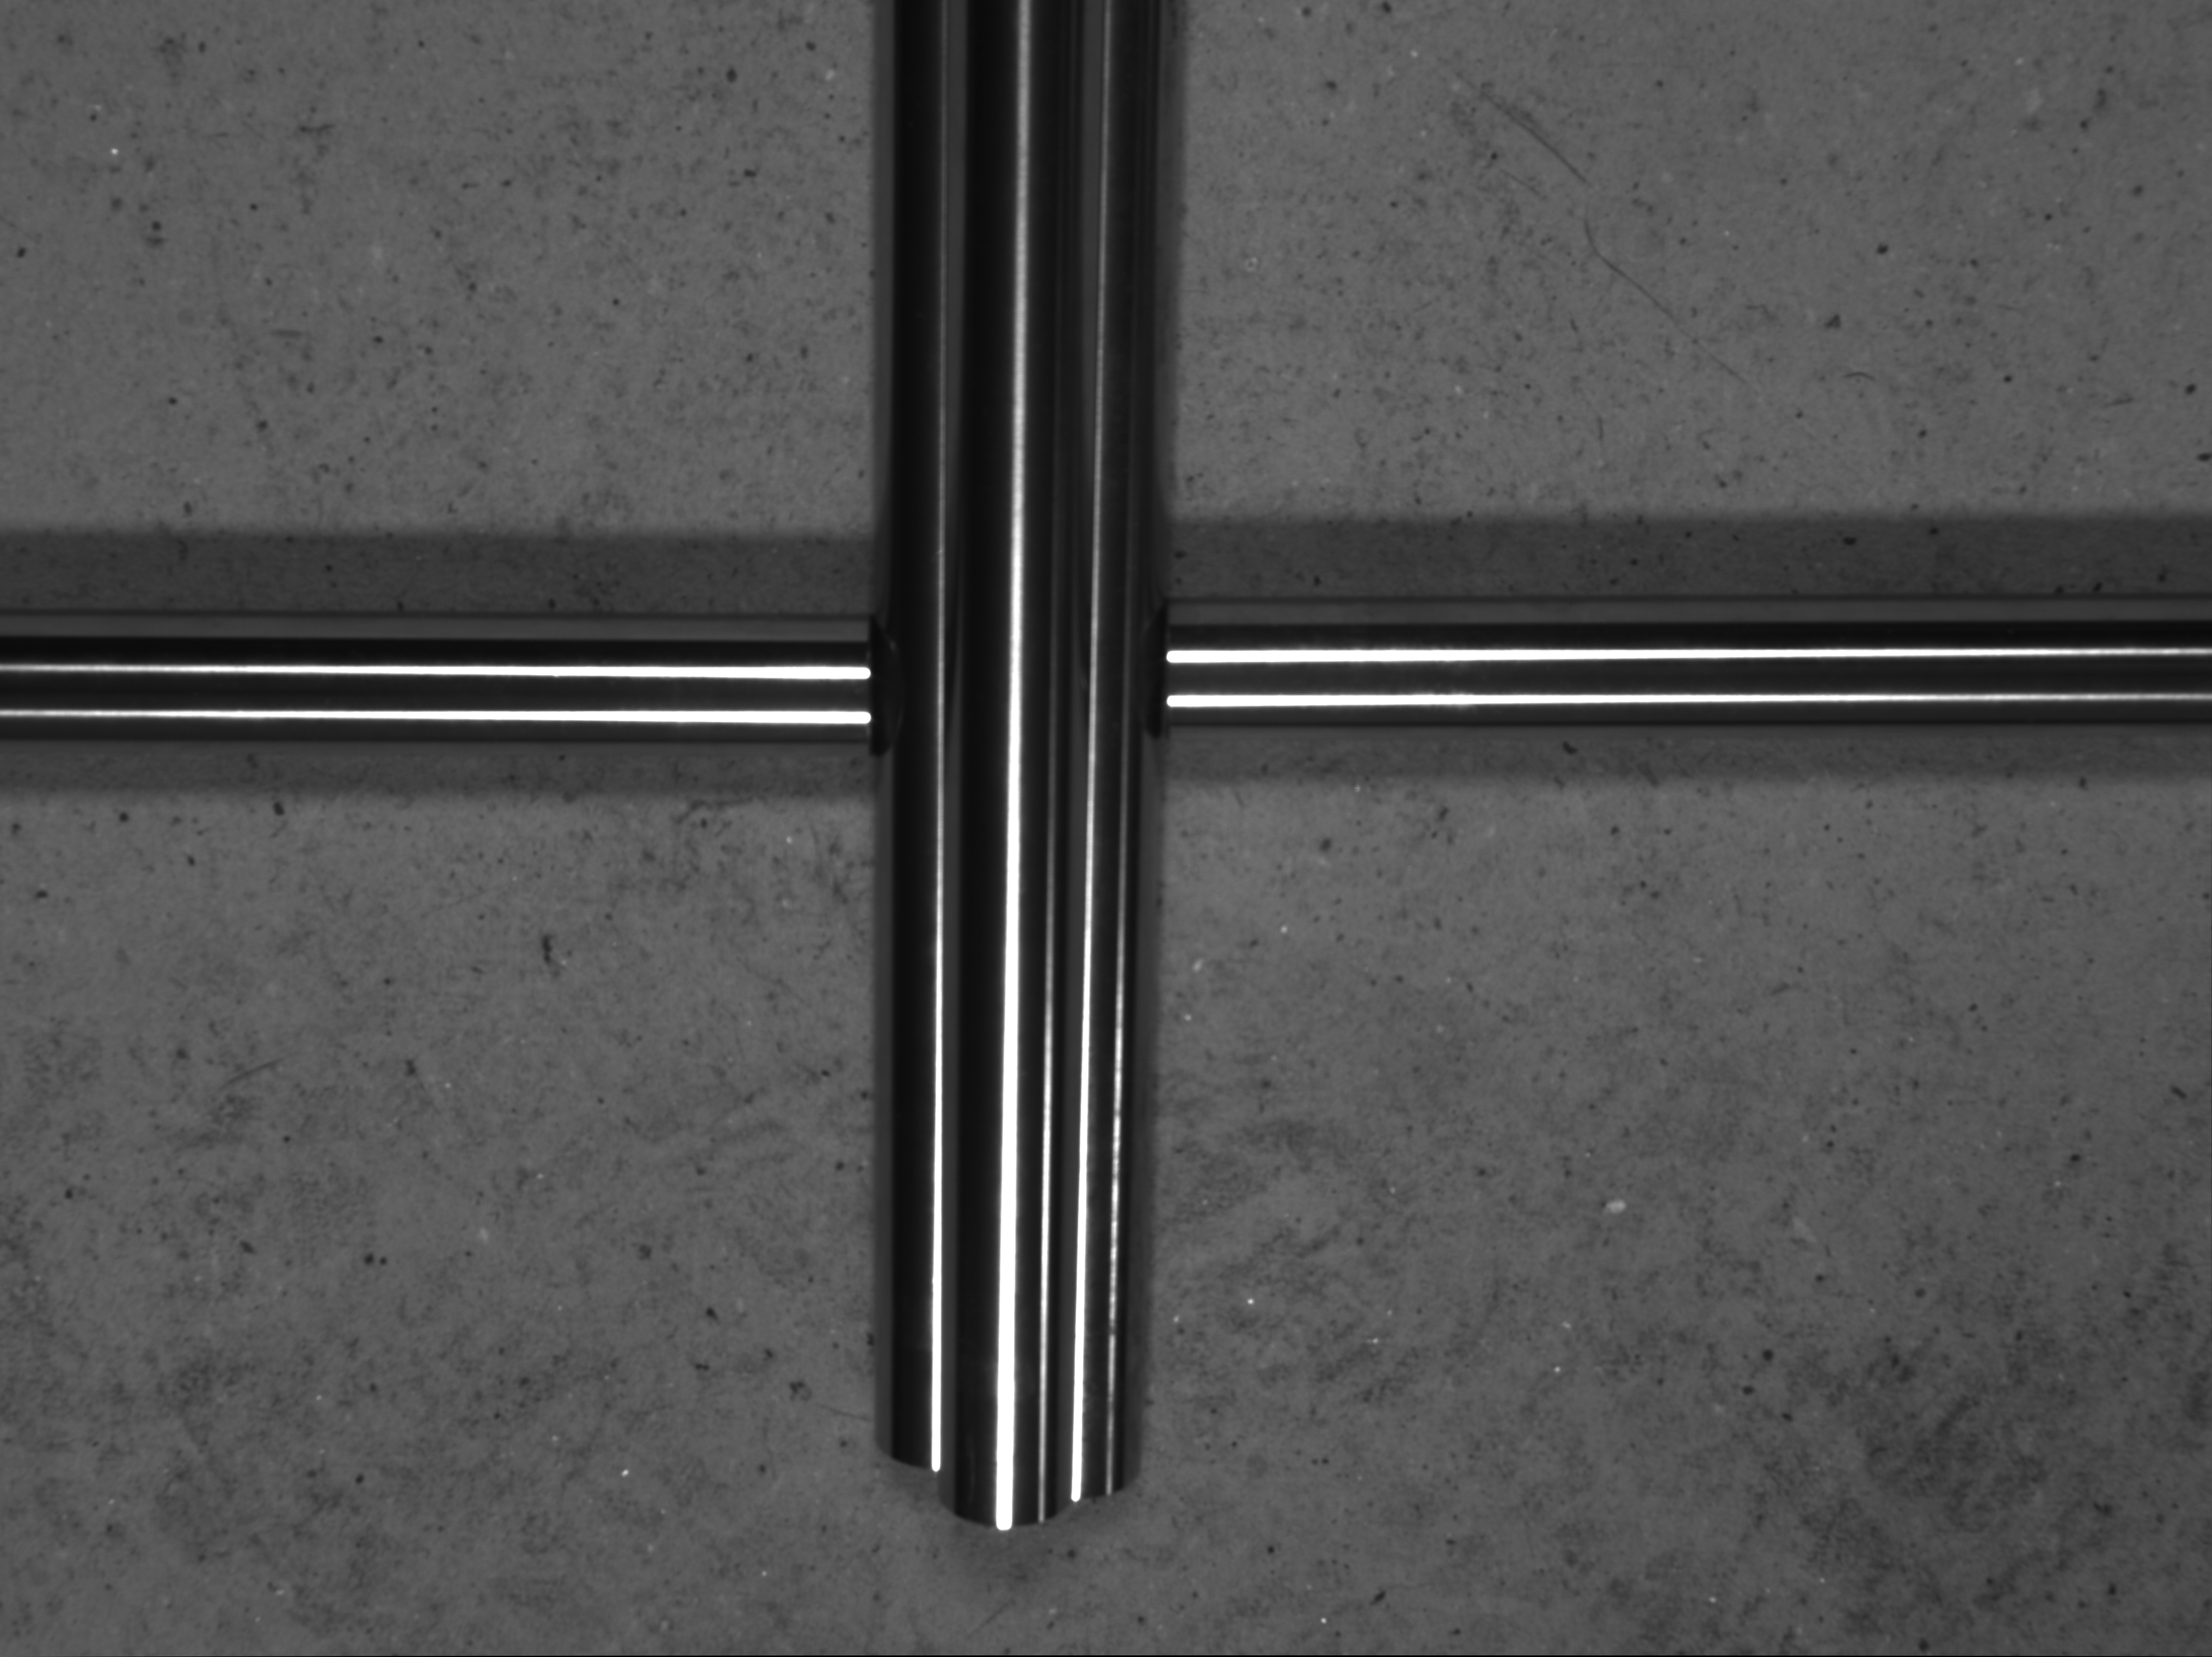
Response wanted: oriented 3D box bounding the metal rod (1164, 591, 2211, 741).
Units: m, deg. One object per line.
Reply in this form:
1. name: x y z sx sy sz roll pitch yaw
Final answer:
1. metal rod: 0.160 -0.029 0.635 0.300 0.025 0.025 0 110 -1

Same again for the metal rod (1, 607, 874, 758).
1. metal rod: -0.190 -0.026 0.631 0.300 0.025 0.025 0 110 -1

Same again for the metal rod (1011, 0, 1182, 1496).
1. metal rod: -0.003 -0.022 0.636 0.025 0.025 0.300 1 110 -1

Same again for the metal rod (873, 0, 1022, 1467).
1. metal rod: -0.028 -0.028 0.634 0.025 0.025 0.300 1 110 -1

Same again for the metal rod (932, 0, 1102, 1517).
1. metal rod: -0.016 -0.022 0.614 0.025 0.025 0.300 1 110 -1
